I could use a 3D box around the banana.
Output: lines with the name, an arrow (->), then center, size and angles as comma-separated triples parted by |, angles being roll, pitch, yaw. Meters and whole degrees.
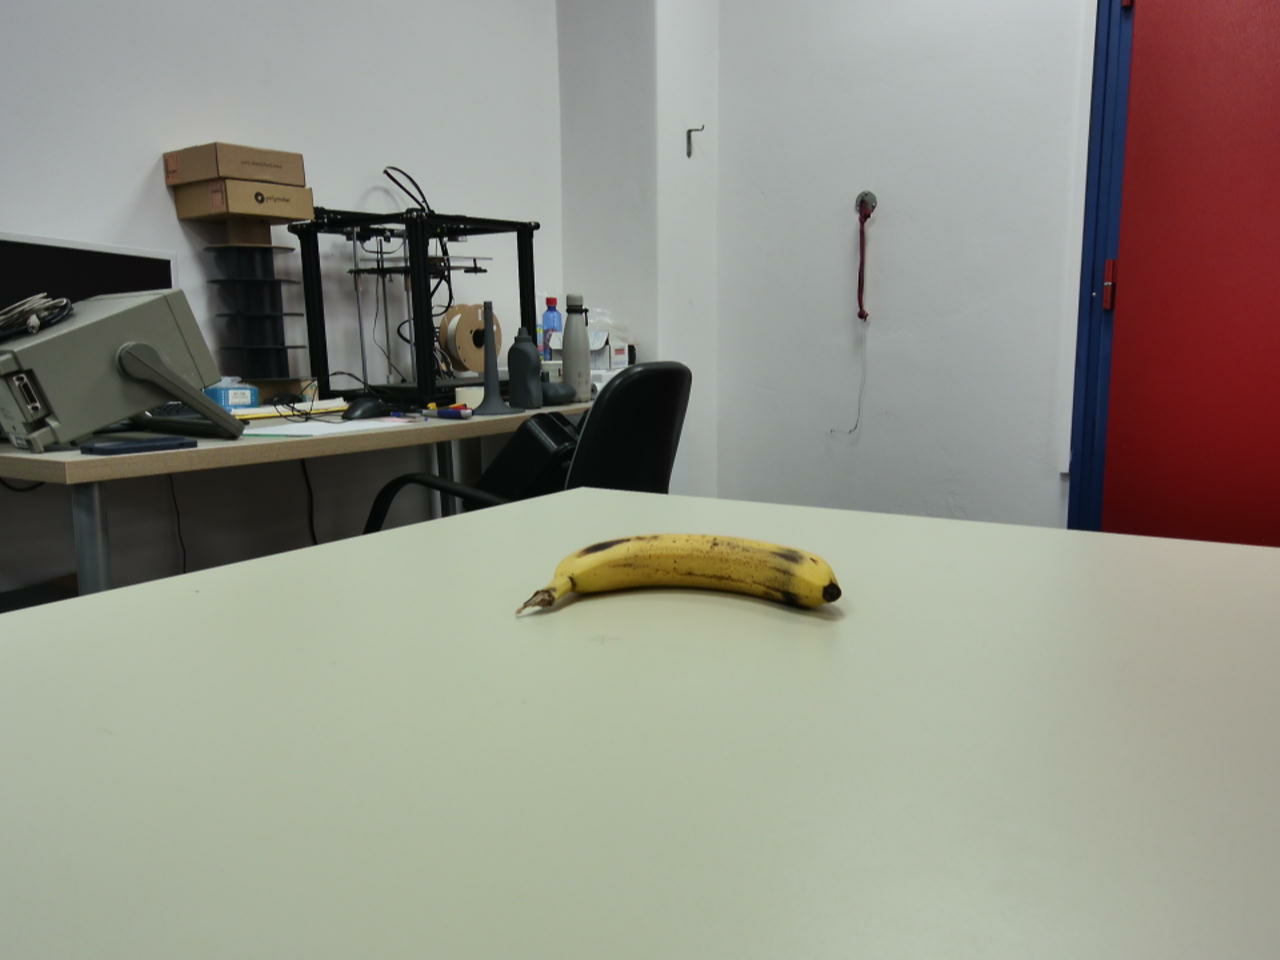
banana -> 0.031, 0.058, 0.633 | 0.186, 0.038, 0.097 | 1, 6, 7
